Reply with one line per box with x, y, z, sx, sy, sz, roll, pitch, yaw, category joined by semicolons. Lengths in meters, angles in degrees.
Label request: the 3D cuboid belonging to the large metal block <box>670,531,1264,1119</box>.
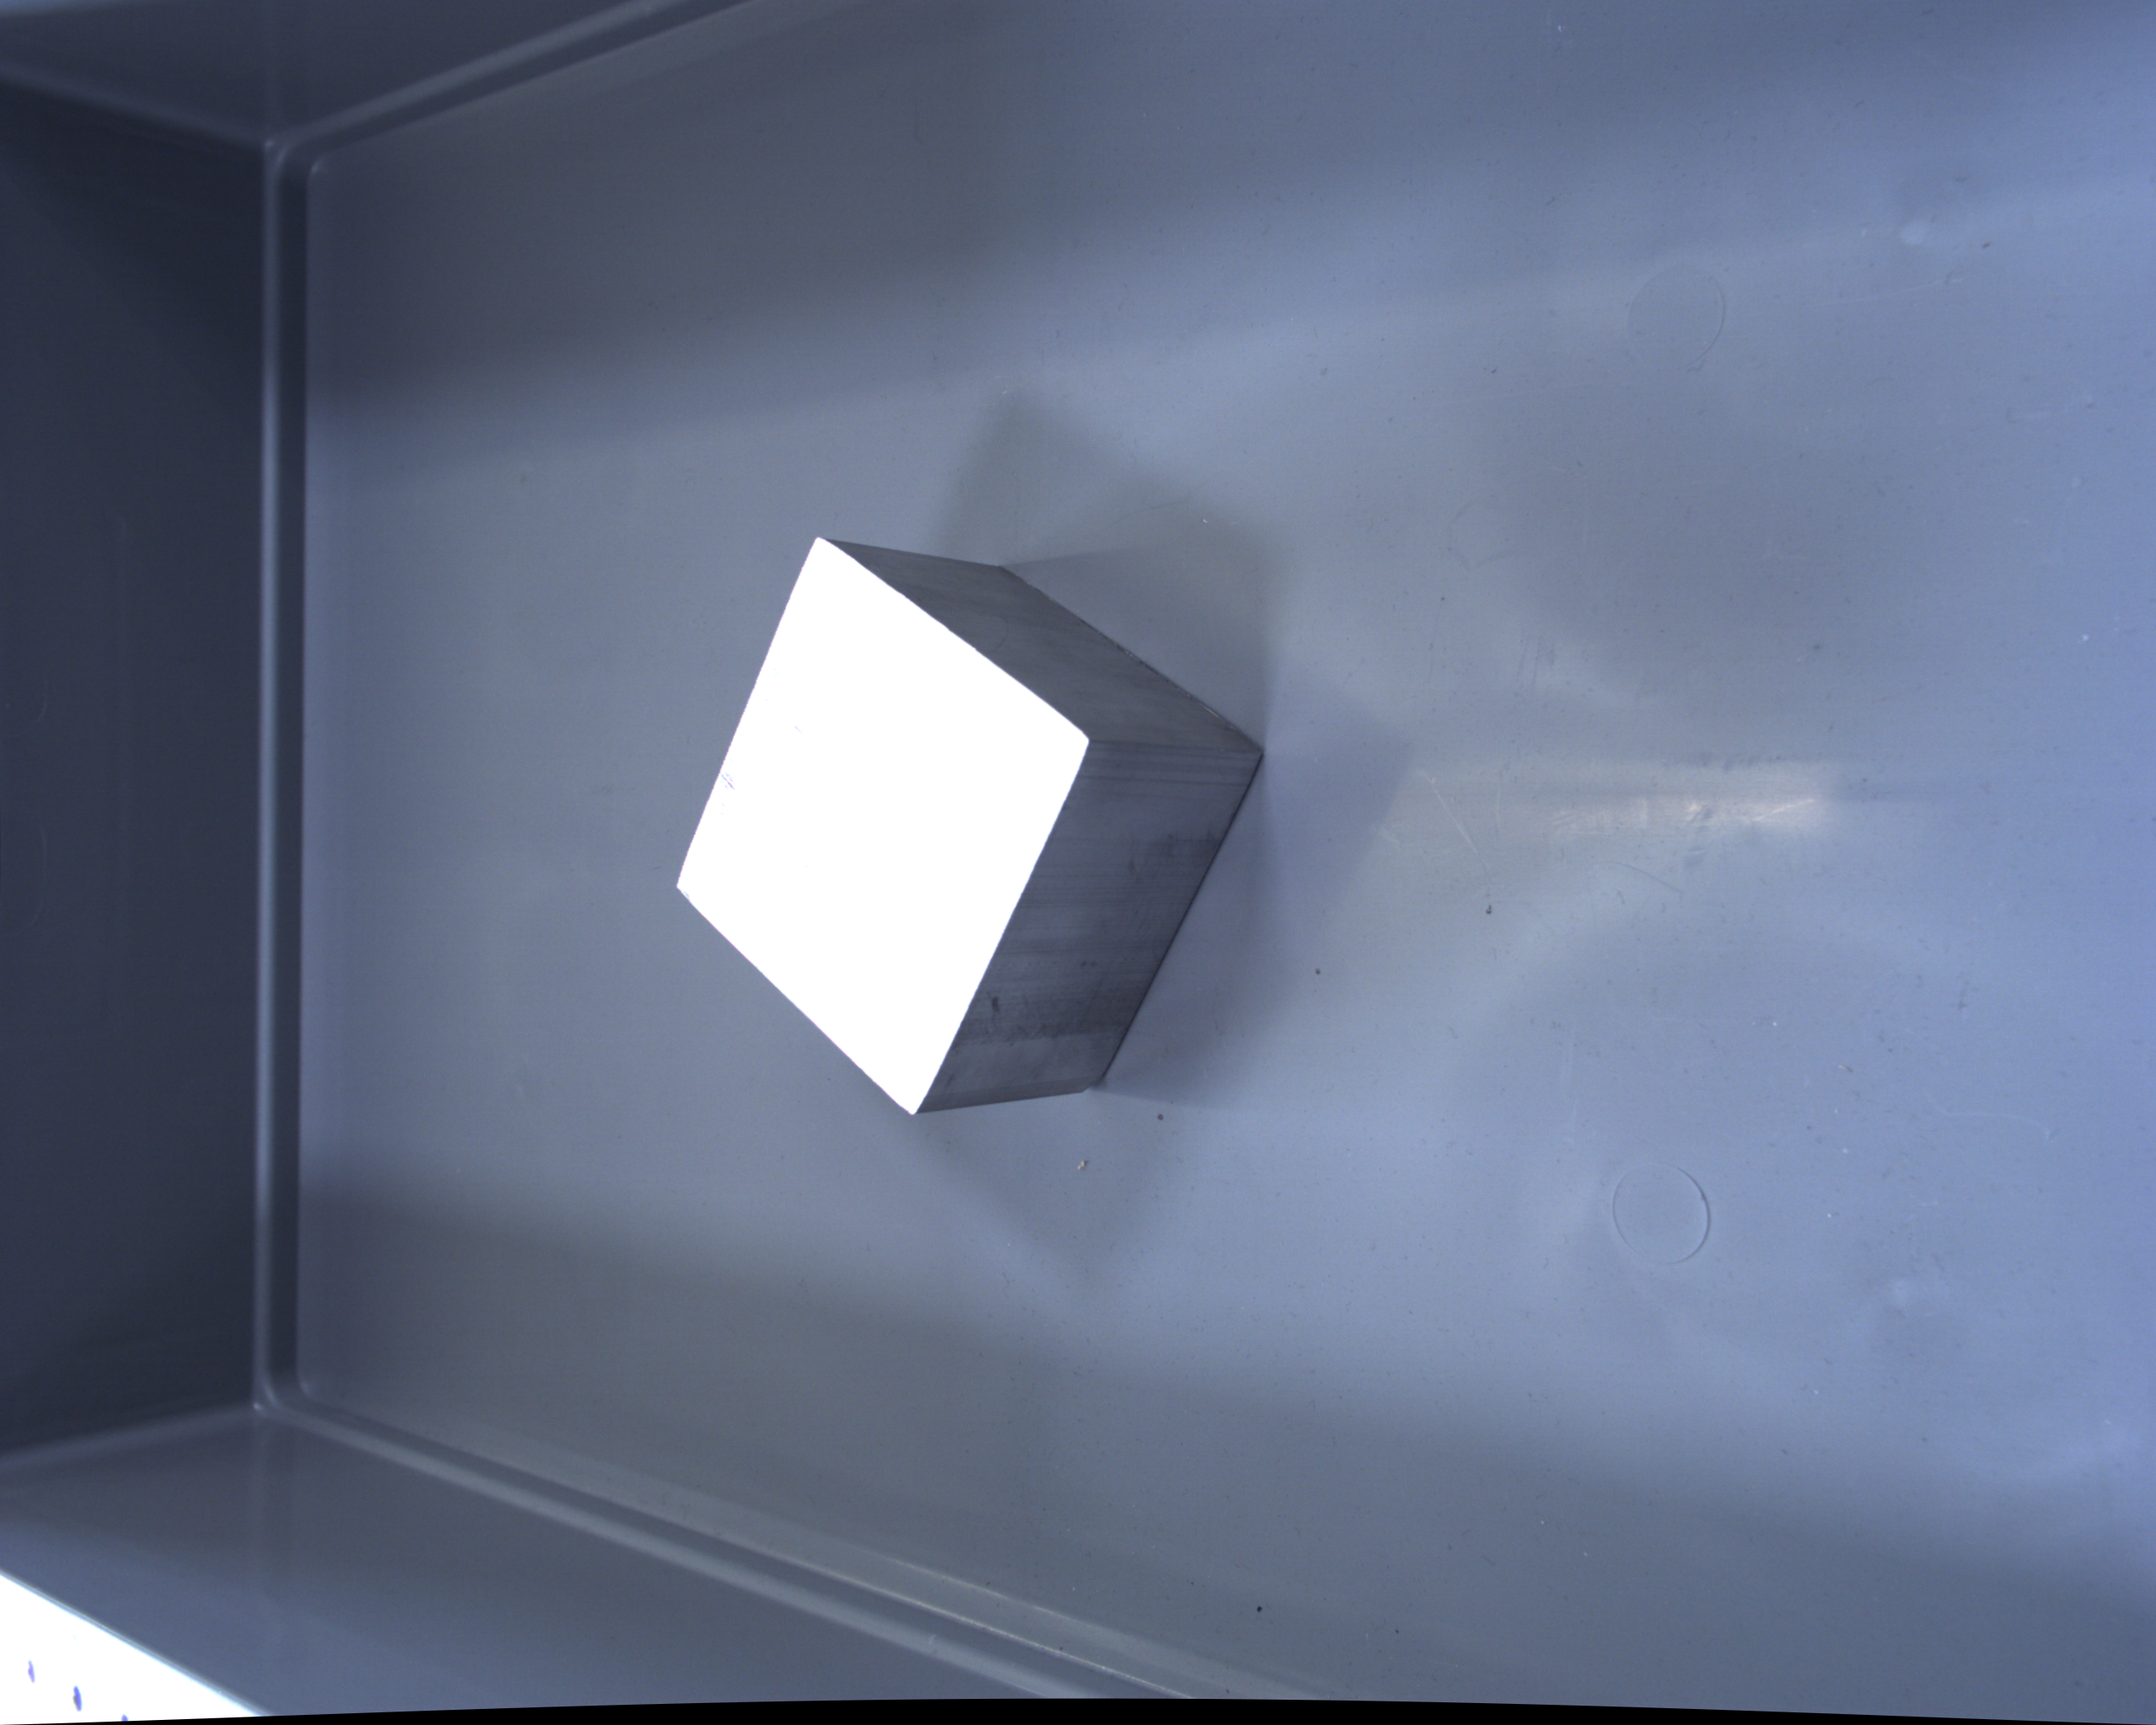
-0.024;-0.008;0.407;0.080;0.050;0.080;39;113;33;large metal block
